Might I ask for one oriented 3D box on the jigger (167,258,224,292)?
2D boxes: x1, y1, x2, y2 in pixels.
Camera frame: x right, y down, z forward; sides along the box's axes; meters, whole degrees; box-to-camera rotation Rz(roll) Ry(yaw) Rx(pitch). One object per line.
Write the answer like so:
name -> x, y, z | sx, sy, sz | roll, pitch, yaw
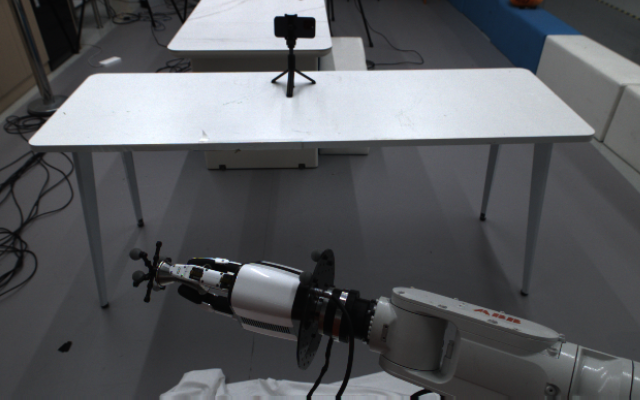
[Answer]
jigger -> -0.186, 0.105, 0.695 | 0.071, 0.043, 0.043 | 5, 34, 14
